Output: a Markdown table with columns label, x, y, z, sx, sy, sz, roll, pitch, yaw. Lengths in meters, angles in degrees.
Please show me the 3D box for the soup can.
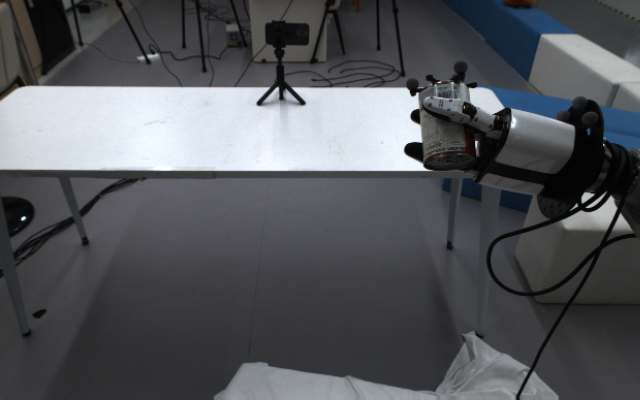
| label | x | y | z | sx | sy | sz | roll | pitch | yaw |
| --- | --- | --- | --- | --- | --- | --- | --- | --- | --- |
| soup can | 0.166 | -0.098 | 0.636 | 0.067 | 0.067 | 0.101 | 0 | 75 | -4 |
